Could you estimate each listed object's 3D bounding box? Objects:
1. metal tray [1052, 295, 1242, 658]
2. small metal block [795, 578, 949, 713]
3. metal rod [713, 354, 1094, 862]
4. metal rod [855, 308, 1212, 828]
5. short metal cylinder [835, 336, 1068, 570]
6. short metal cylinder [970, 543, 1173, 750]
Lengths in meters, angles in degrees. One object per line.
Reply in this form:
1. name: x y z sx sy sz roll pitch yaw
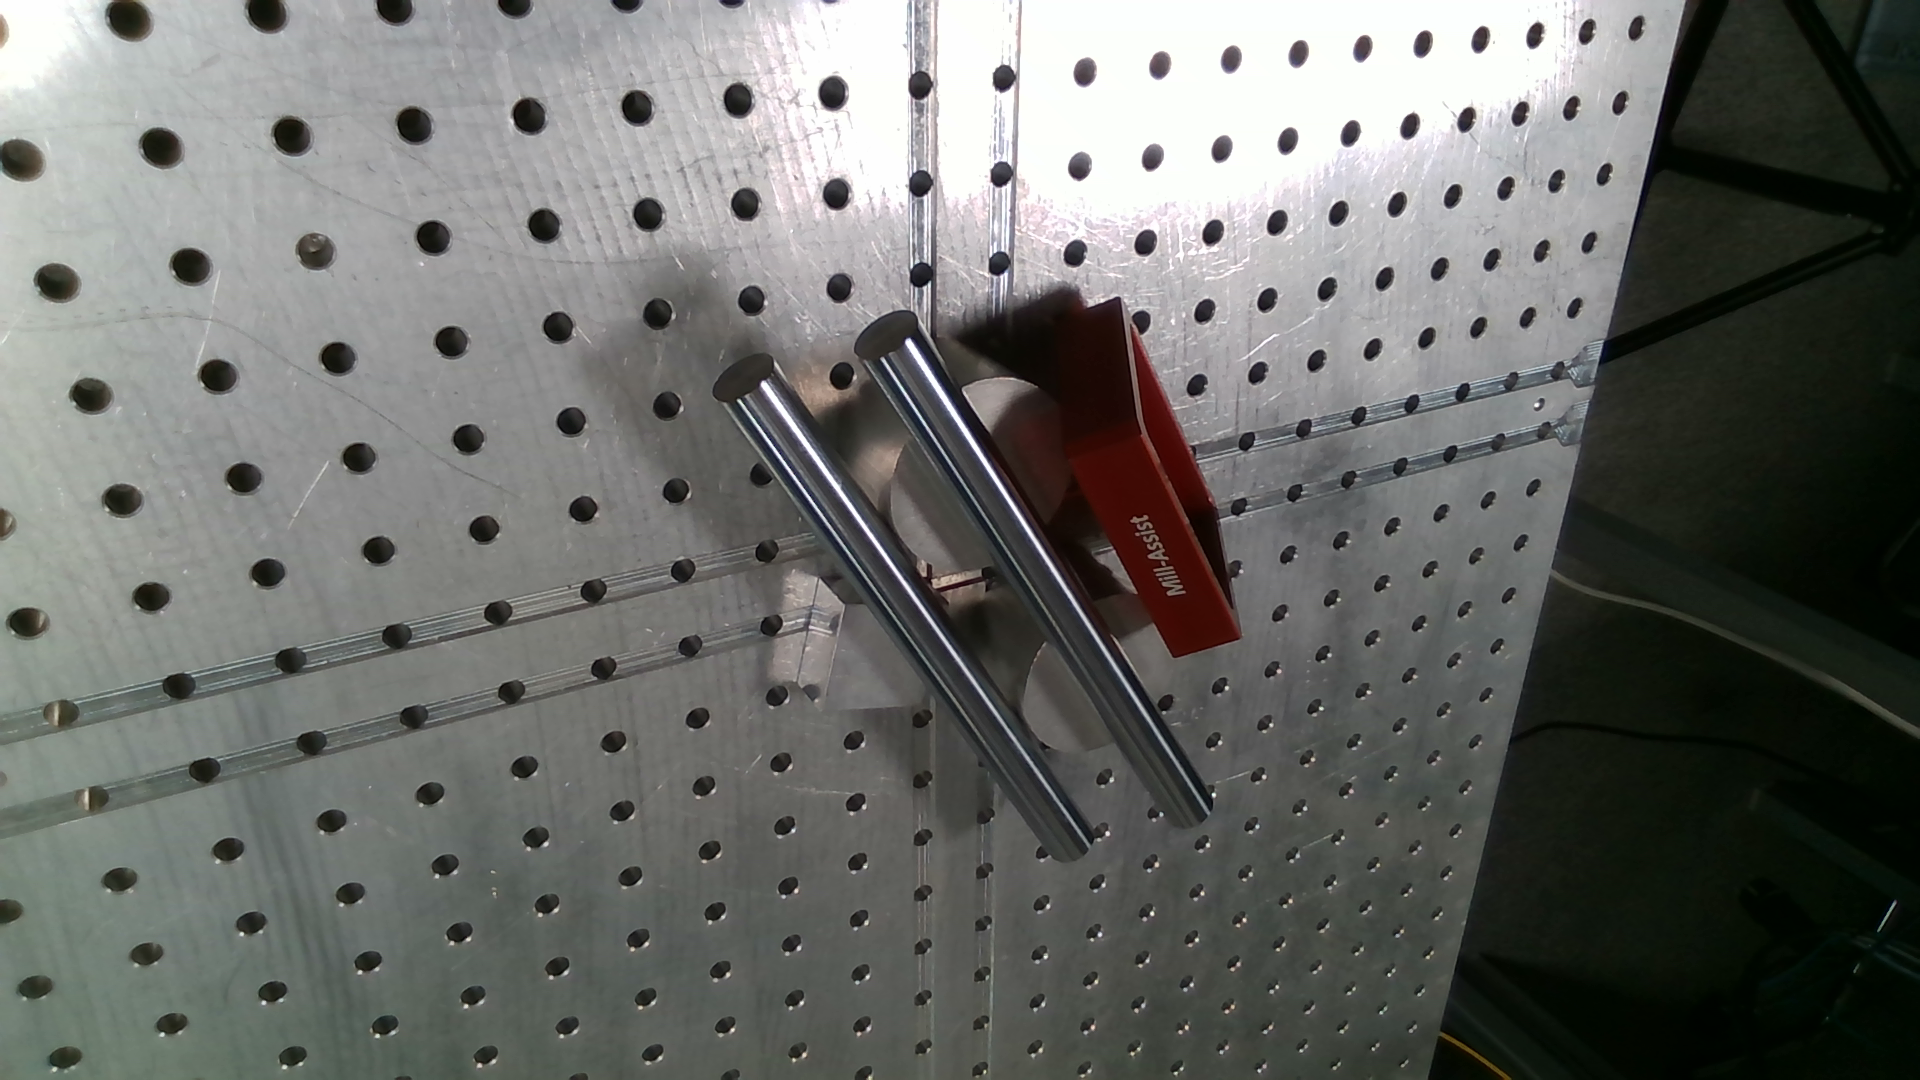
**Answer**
1. metal tray: 0.079 -0.025 0.575 0.030 0.090 0.130 -19 130 17
2. small metal block: -0.038 0.044 0.583 0.050 0.025 0.050 1 114 -32
3. metal rod: -0.011 0.044 0.567 0.025 0.025 0.301 -39 129 -8
4. metal rod: 0.042 0.028 0.558 0.025 0.025 0.301 -40 129 -7
5. short metal cylinder: -0.003 -0.035 0.547 0.080 0.050 0.080 -14 122 -25
6. short metal cylinder: 0.051 0.048 0.625 0.080 0.050 0.080 -14 122 -25
